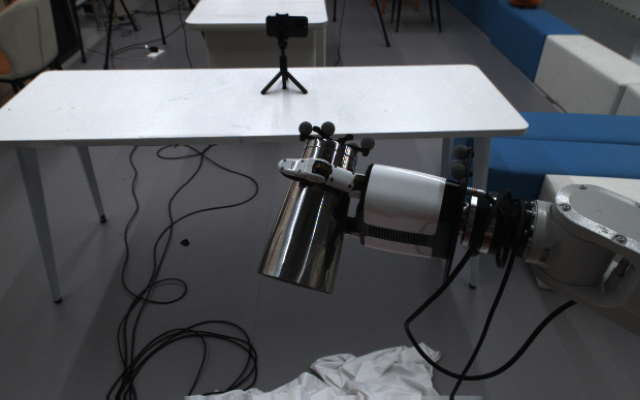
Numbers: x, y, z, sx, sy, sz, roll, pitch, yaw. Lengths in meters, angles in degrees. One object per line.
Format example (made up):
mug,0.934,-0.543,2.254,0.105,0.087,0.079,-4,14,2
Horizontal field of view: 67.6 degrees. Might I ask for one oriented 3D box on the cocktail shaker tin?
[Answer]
cocktail shaker tin,-0.005,0.015,0.578,0.093,0.093,0.170,13,77,15
